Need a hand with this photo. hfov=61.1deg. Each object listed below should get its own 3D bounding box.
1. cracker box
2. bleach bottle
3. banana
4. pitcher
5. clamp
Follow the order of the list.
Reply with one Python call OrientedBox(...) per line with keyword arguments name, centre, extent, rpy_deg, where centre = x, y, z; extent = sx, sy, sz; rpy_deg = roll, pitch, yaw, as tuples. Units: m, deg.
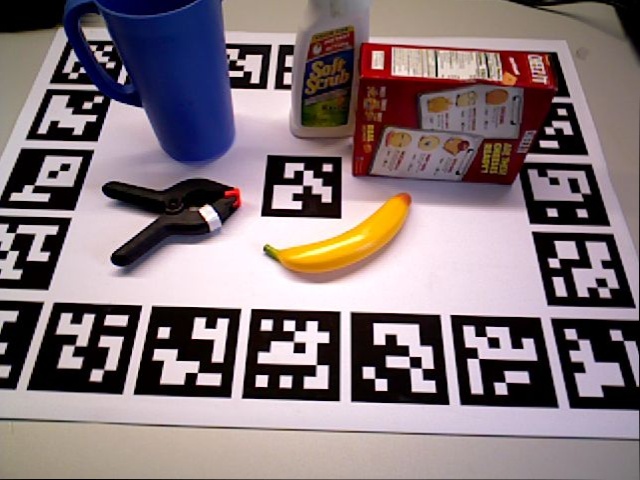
OrientedBox(name="cracker box", centre=(0.153, -0.146, 0.645), extent=(0.213, 0.167, 0.071), rpy_deg=(2, 53, 3))
OrientedBox(name="bleach bottle", centre=(0.001, -0.228, 0.665), extent=(0.102, 0.256, 0.067), rpy_deg=(1, 55, 0))
OrientedBox(name="banana", centre=(0.040, 0.000, 0.652), extent=(0.194, 0.039, 0.074), rpy_deg=(-28, 60, -17))
OrientedBox(name="pitcher", centre=(-0.185, -0.210, 0.630), extent=(0.186, 0.248, 0.132), rpy_deg=(-13, 56, -13))
OrientedBox(name="clamp", centre=(-0.179, -0.029, 0.662), extent=(0.163, 0.037, 0.120), rpy_deg=(-12, 56, -10))
